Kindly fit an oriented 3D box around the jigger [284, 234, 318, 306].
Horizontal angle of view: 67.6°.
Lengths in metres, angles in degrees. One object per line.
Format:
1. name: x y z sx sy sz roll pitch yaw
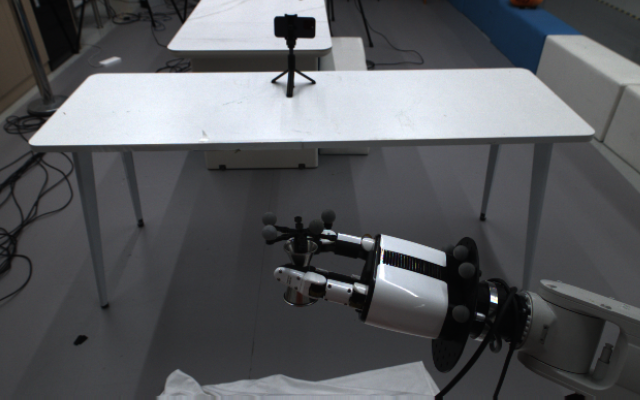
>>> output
1. jigger: -0.022 0.085 0.573 0.043 0.071 0.043 0 21 0
